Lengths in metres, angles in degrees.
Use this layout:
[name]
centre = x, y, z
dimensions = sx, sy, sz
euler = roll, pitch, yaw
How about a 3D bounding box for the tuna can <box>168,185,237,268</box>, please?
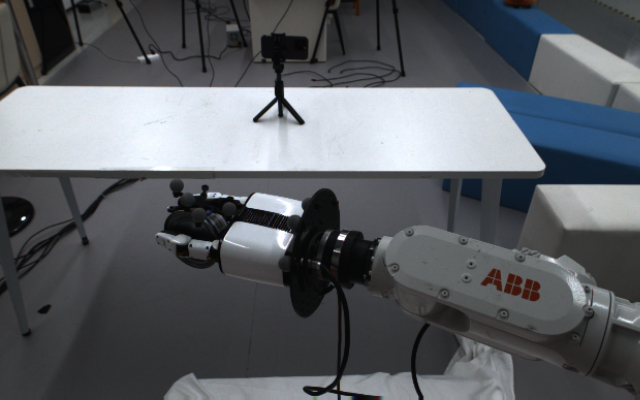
[tuna can]
centre = -0.158, 0.045, 0.636
dimensions = 0.085, 0.085, 0.034
euler = 16, 28, 19
